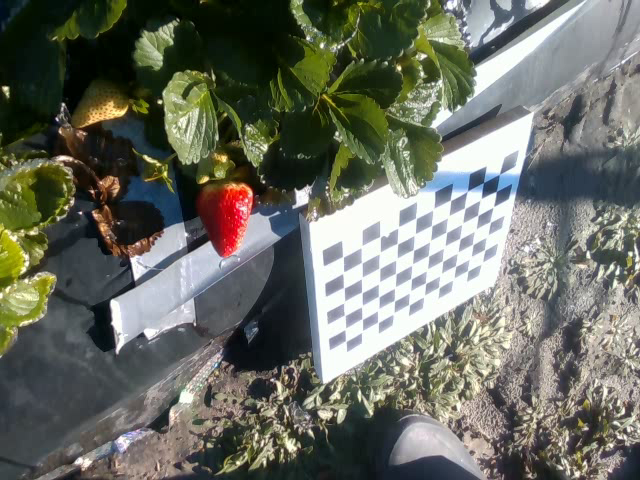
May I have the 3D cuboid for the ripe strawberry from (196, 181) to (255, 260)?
[{"bbox_3d":[-0.080,-0.016,0.560,0.061,0.065,0.057,1,-10,-45],"label":"ripe strawberry"}]
